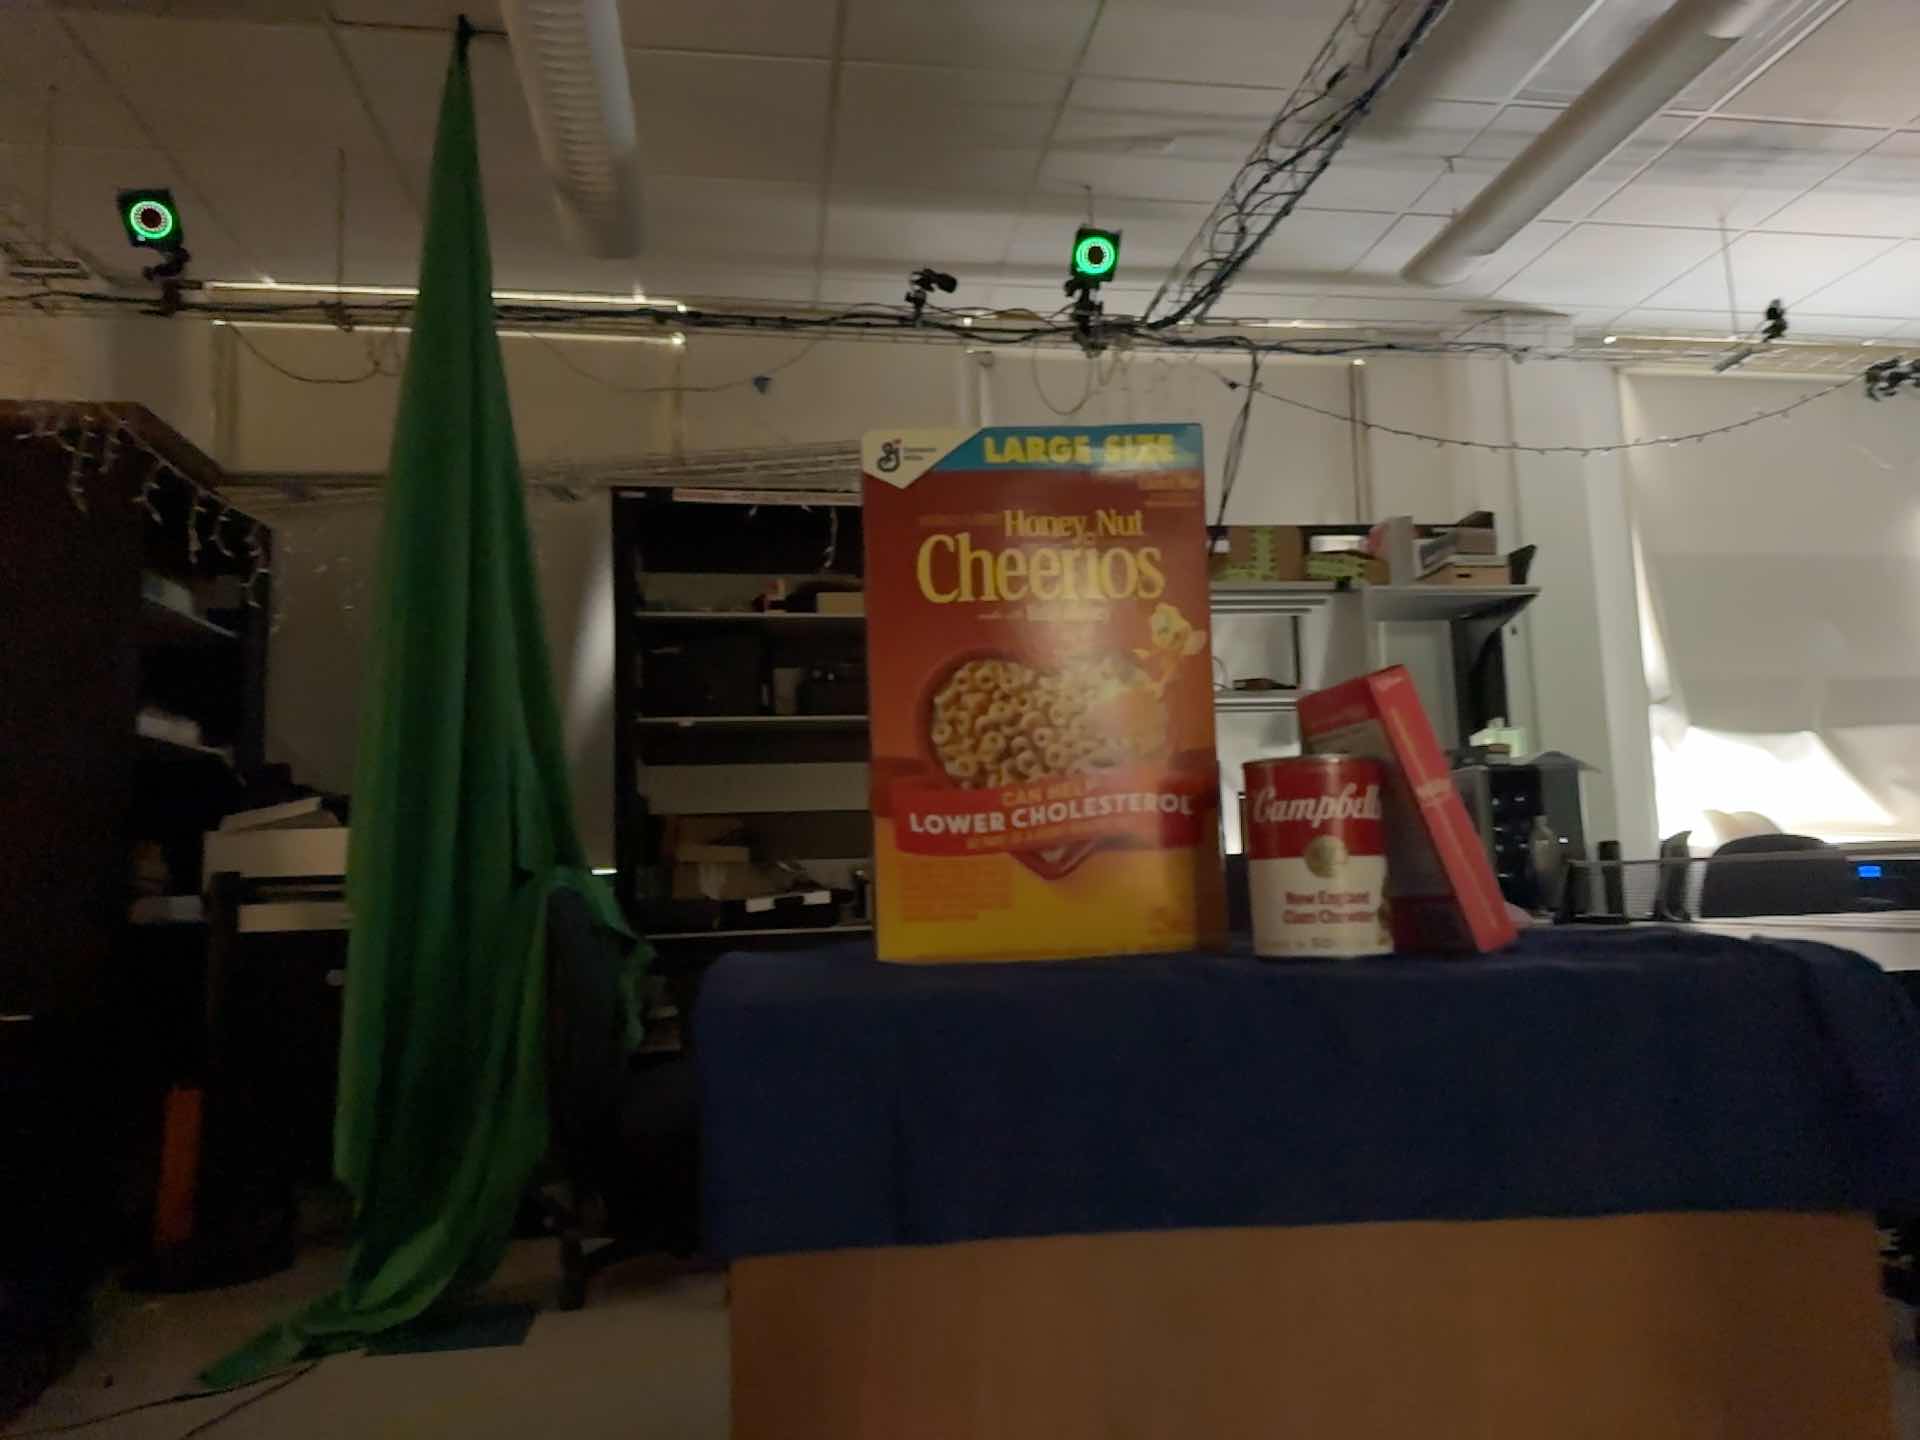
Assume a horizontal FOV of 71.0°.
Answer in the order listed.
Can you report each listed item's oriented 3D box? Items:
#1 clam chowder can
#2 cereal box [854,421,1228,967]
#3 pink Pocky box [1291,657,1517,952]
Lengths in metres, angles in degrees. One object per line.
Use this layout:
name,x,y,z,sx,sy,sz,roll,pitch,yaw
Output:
clam chowder can,0.179,0.074,0.706,0.068,0.102,0.068,1,-6,0
cereal box,0.043,-0.016,0.783,0.195,0.297,0.065,-1,-6,-1
pink Pocky box,0.235,0.047,0.723,0.029,0.155,0.084,-21,-3,-15
